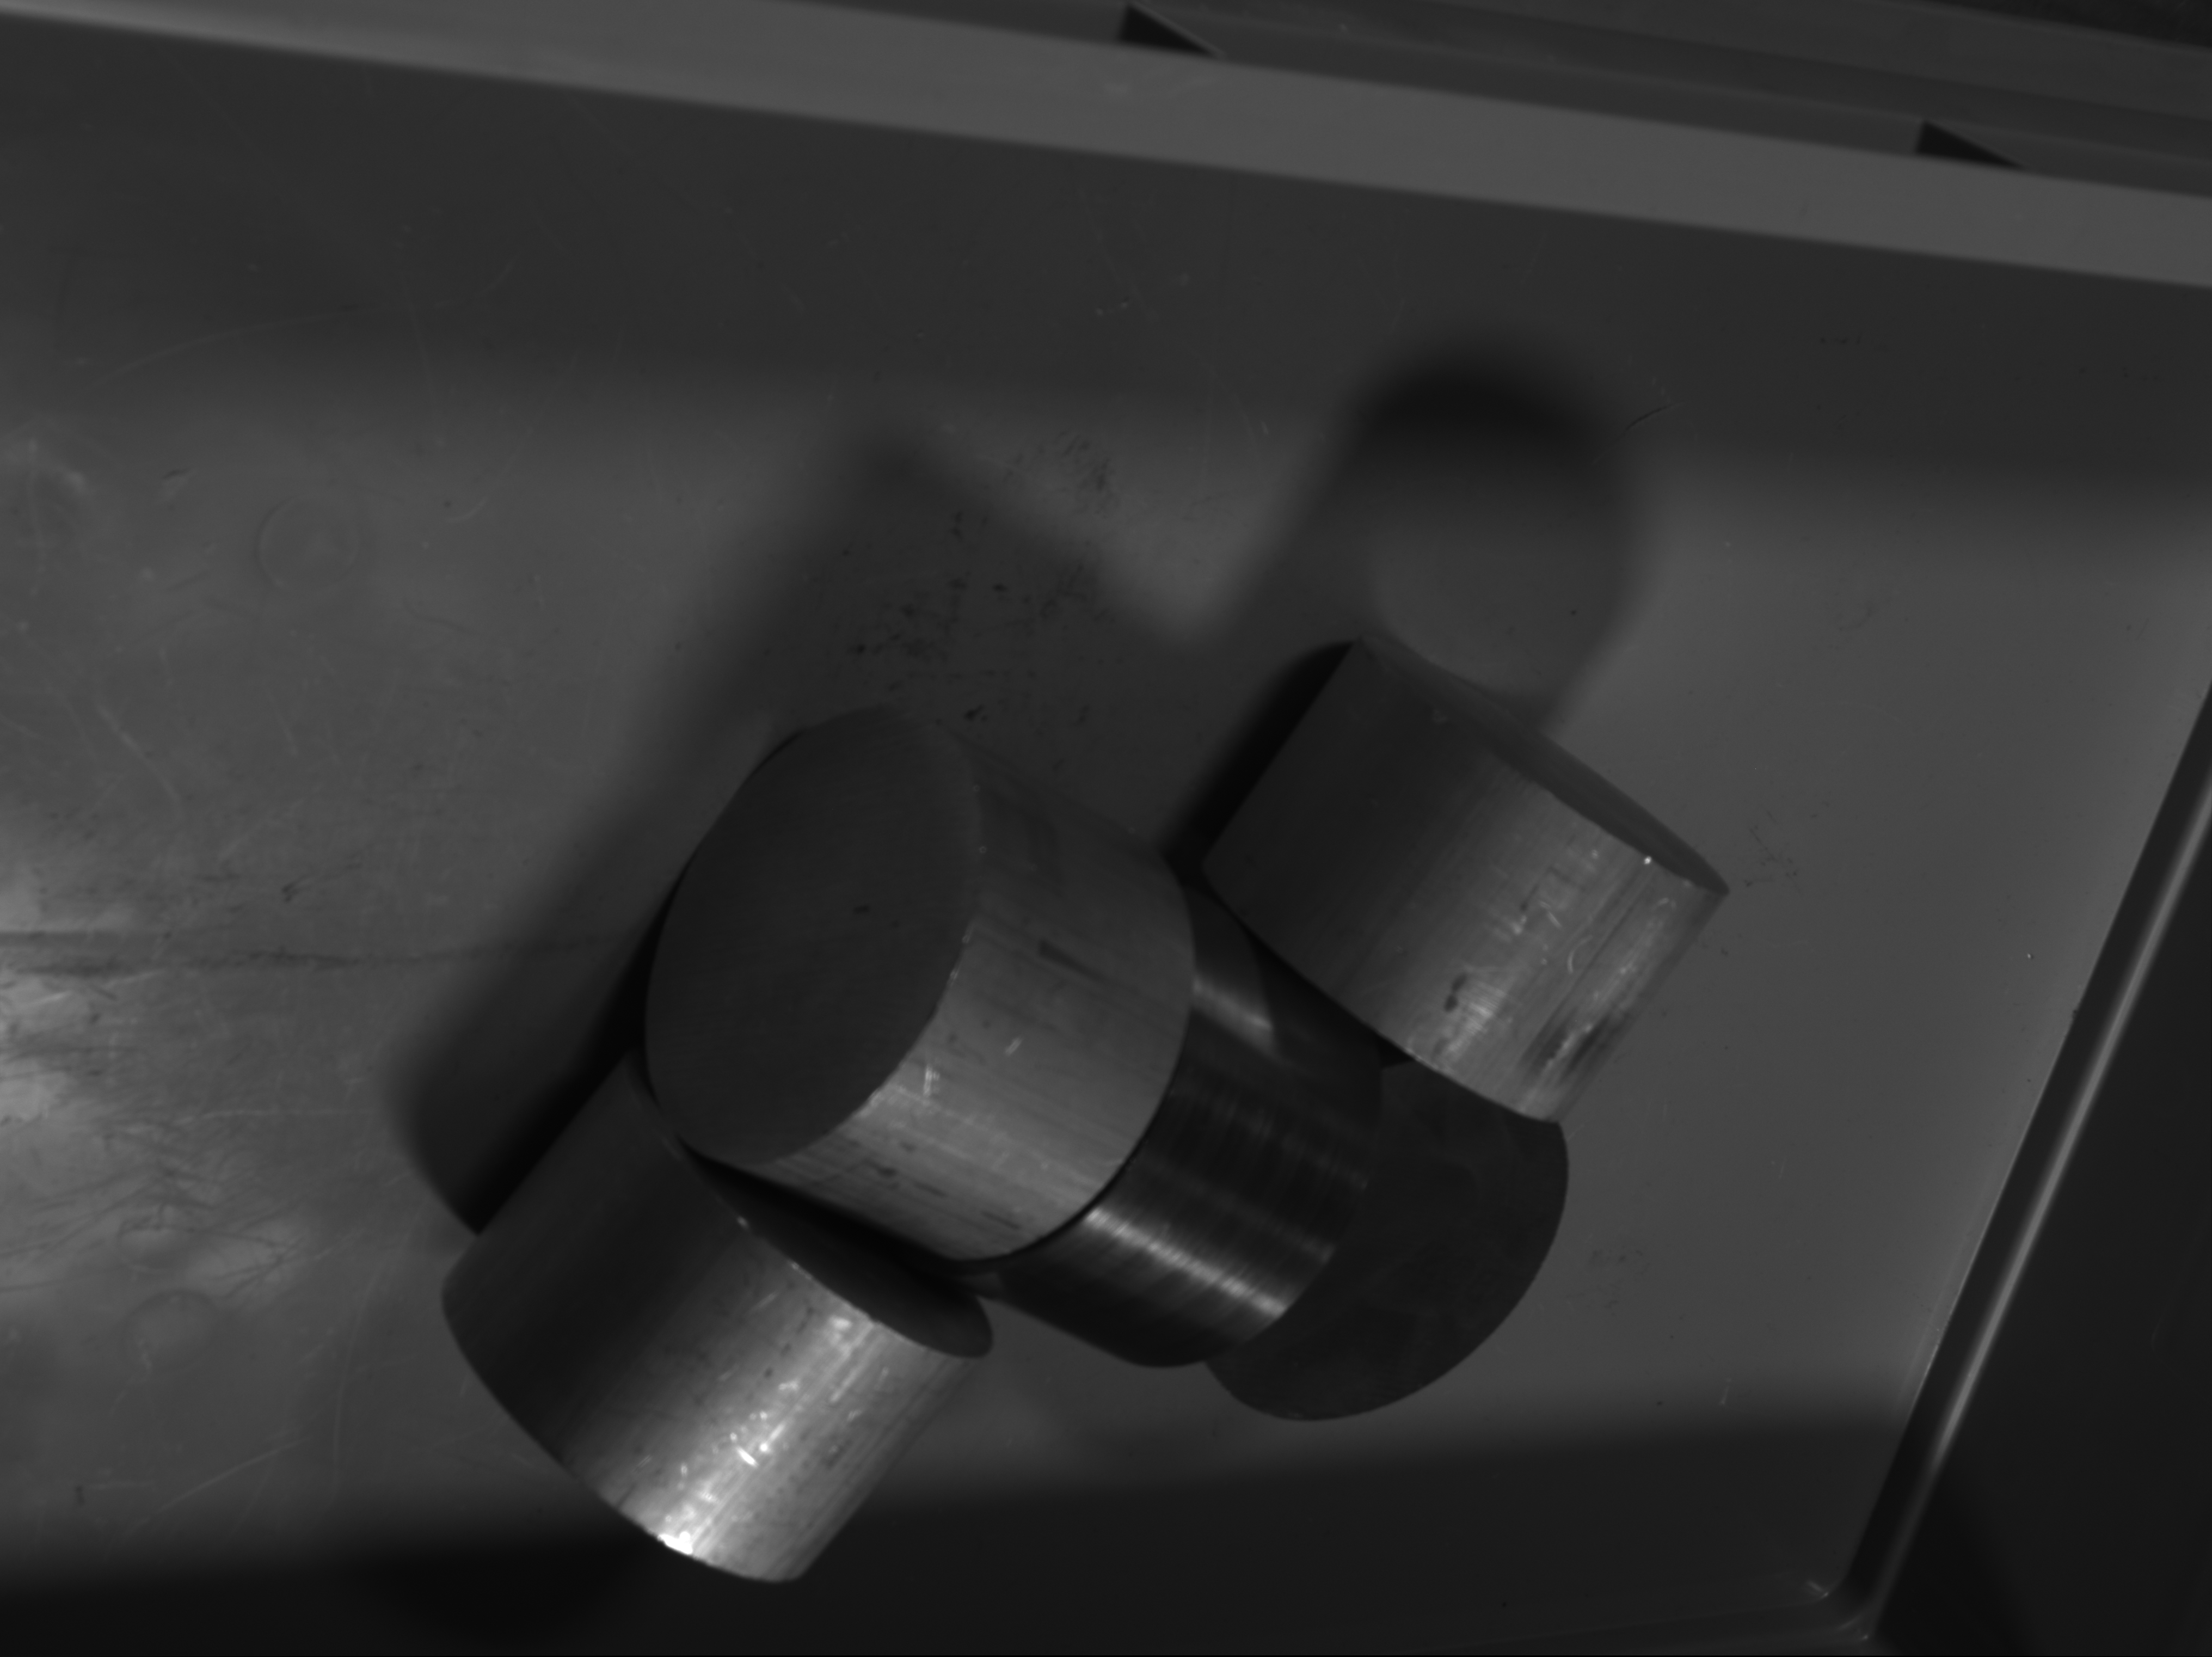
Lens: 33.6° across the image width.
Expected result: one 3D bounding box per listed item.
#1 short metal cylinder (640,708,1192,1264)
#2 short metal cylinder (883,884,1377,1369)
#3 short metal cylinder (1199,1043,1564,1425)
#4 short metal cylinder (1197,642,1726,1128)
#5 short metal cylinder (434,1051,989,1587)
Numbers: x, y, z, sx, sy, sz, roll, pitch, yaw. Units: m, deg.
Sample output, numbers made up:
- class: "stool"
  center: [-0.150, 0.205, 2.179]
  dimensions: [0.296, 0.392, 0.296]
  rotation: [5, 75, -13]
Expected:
- class: "short metal cylinder"
  center: [-0.032, 0.027, 0.611]
  dimensions: [0.050, 0.080, 0.080]
  rotation: [29, 101, -39]
- class: "short metal cylinder"
  center: [0.001, 0.049, 0.645]
  dimensions: [0.050, 0.080, 0.080]
  rotation: [31, 100, -39]
- class: "short metal cylinder"
  center: [0.040, 0.066, 0.696]
  dimensions: [0.080, 0.050, 0.080]
  rotation: [-15, 125, -22]
- class: "short metal cylinder"
  center: [0.064, 0.009, 0.656]
  dimensions: [0.080, 0.080, 0.050]
  rotation: [26, 103, -39]
- class: "short metal cylinder"
  center: [-0.067, 0.083, 0.626]
  dimensions: [0.080, 0.080, 0.050]
  rotation: [34, 98, -40]
